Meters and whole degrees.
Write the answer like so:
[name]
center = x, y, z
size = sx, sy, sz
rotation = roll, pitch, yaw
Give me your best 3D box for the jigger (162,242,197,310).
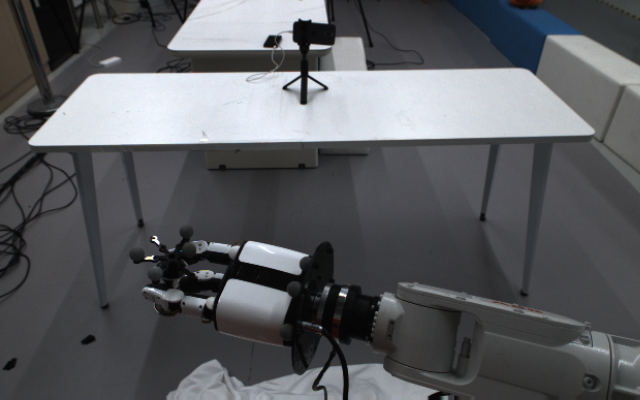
[jigger]
center = -0.190, 0.110, 0.623
size = 0.043, 0.071, 0.043
rotation = 10, 36, -7
